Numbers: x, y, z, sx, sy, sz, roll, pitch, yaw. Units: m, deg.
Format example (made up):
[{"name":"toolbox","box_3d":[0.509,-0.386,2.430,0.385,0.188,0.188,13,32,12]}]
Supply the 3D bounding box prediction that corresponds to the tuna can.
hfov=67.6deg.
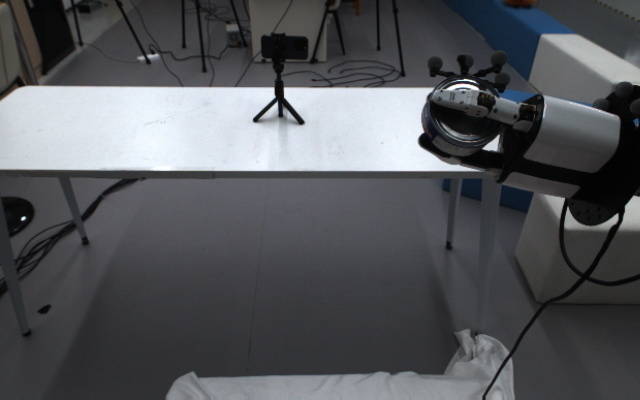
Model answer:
[{"name":"tuna can","box_3d":[0.160,-0.099,0.542,0.085,0.034,0.085,1,72,-4]}]
